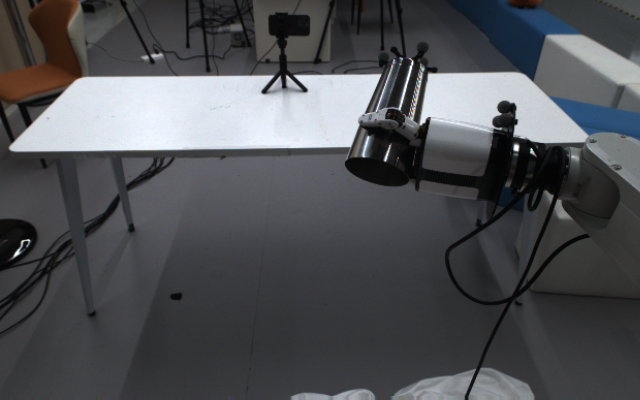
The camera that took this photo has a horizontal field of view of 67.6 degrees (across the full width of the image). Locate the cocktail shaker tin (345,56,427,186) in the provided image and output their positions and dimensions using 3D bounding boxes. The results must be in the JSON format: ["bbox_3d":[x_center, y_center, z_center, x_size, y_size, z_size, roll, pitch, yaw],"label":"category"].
[{"bbox_3d":[0.102,-0.116,0.696,0.093,0.093,0.170,14,72,16],"label":"cocktail shaker tin"}]
